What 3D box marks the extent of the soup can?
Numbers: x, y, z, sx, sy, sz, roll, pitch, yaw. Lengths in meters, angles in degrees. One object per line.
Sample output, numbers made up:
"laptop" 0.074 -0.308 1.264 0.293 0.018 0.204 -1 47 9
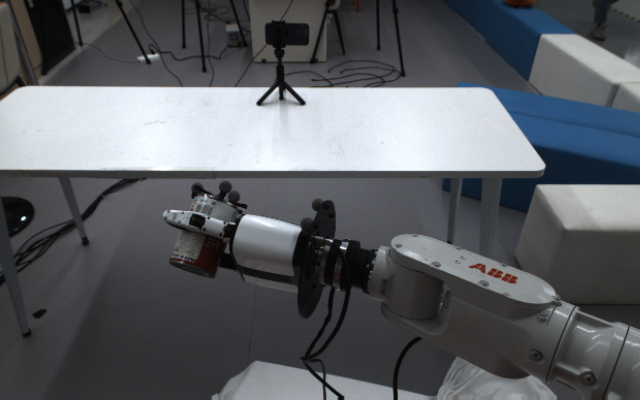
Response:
"soup can" -0.160 0.051 0.676 0.067 0.067 0.101 12 70 14
